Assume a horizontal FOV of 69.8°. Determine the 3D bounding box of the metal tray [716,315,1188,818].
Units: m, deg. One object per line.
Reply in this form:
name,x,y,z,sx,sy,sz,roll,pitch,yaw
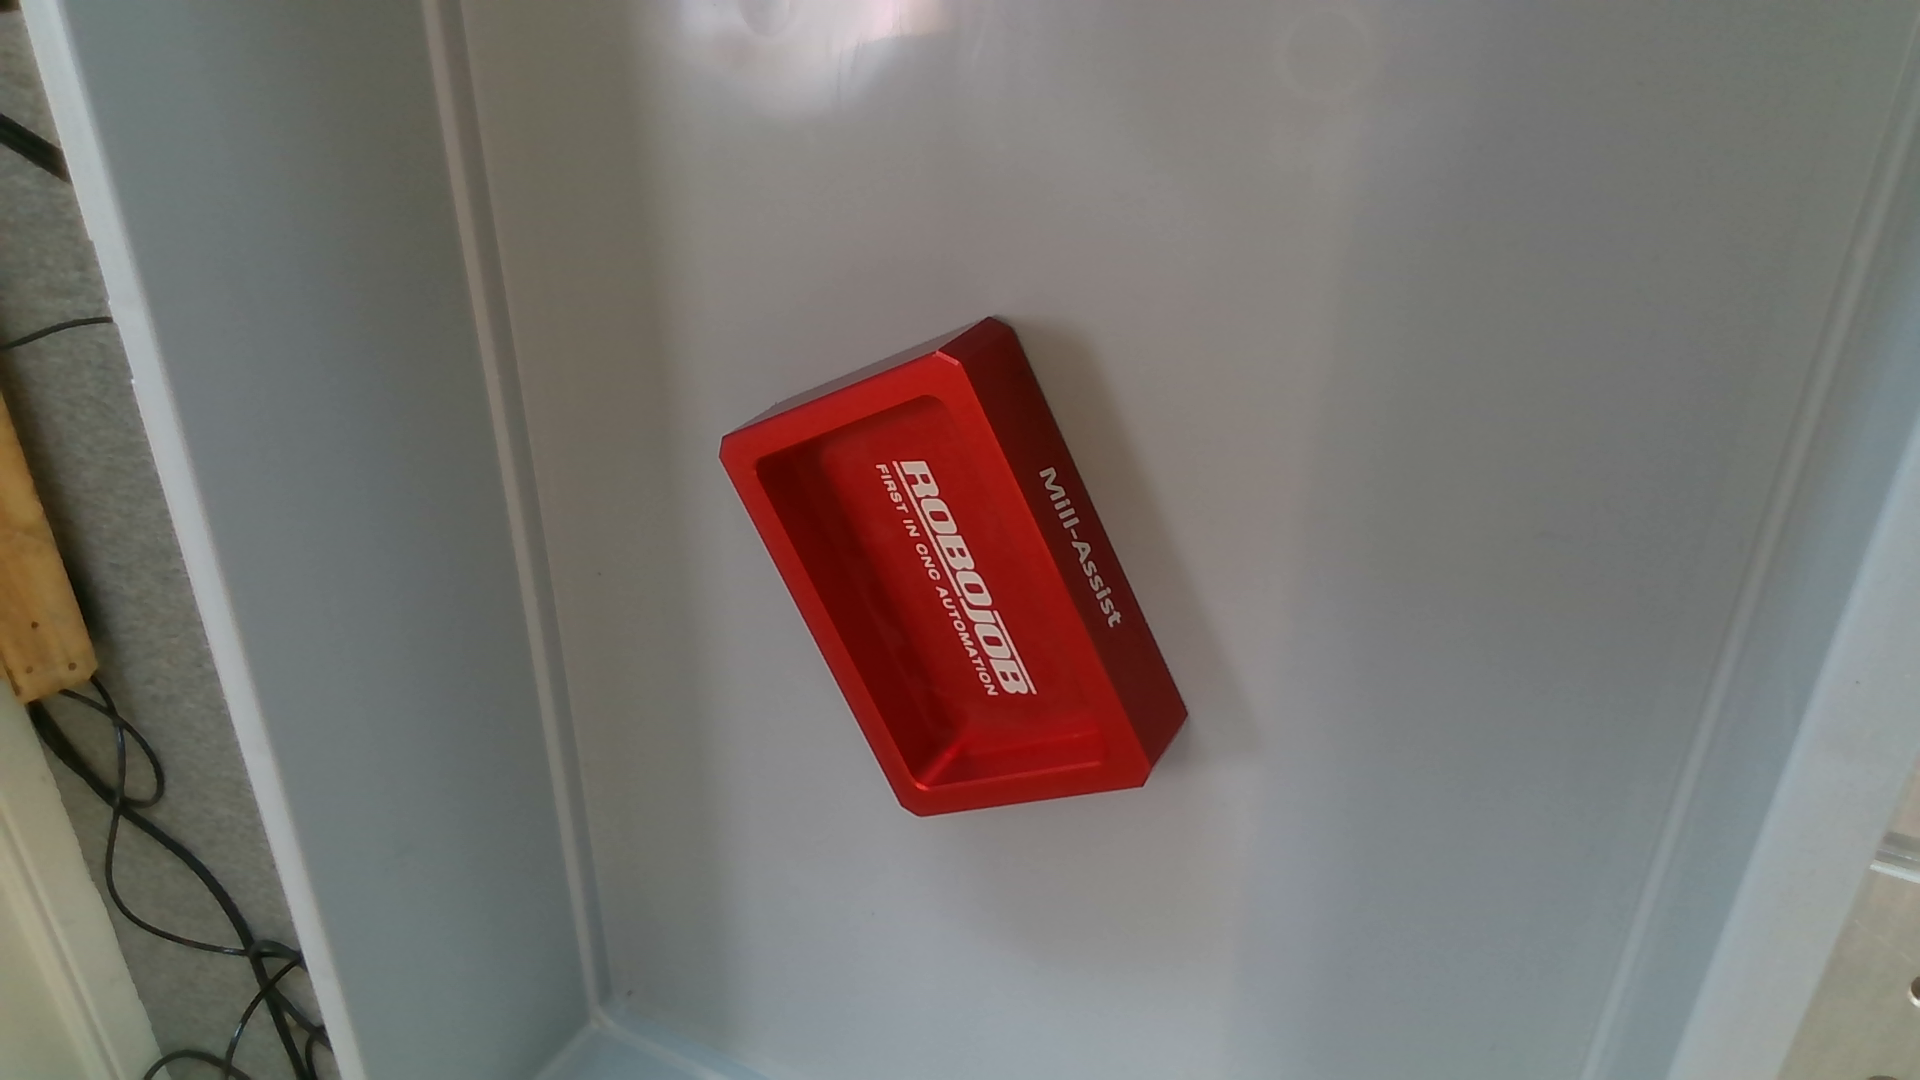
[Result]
metal tray,-0.003,0.013,0.390,0.090,0.030,0.130,-16,106,37
